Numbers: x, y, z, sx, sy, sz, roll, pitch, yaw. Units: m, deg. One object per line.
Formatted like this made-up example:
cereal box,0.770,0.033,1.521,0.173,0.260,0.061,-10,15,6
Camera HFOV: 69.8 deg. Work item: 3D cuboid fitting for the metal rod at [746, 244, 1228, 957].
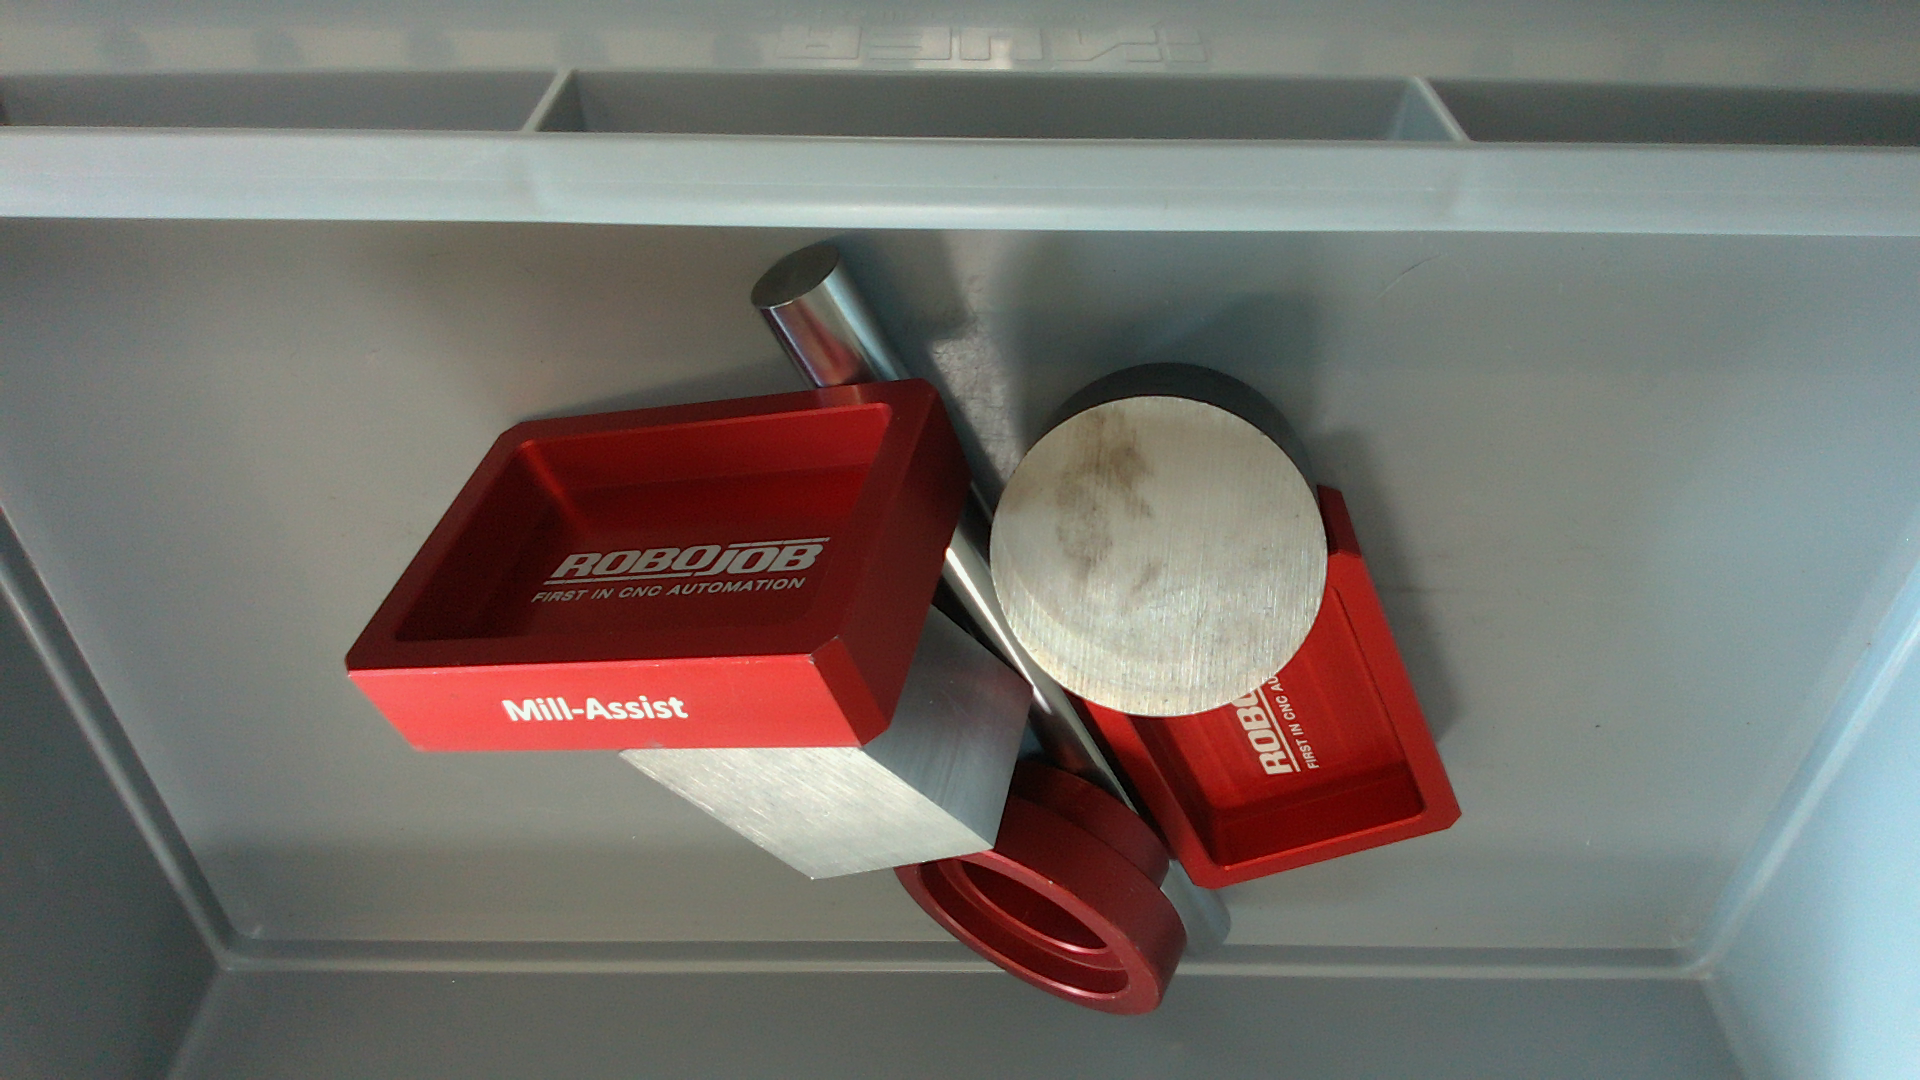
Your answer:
metal rod,0.023,0.039,0.422,0.025,0.025,0.301,-20,127,16

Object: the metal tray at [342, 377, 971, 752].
metal tray,-0.071,0.006,0.333,0.130,0.090,0.030,-4,133,22

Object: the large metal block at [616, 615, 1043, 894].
large metal block,-0.036,0.056,0.396,0.080,0.050,0.080,-22,129,40

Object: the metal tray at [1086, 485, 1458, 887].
metal tray,0.094,0.051,0.429,0.090,0.030,0.130,-20,127,16

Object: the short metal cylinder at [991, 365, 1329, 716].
short metal cylinder,0.052,-0.002,0.352,0.080,0.050,0.080,3,107,11

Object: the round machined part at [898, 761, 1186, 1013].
round machined part,0.029,0.109,0.452,0.098,0.042,0.098,24,149,16
